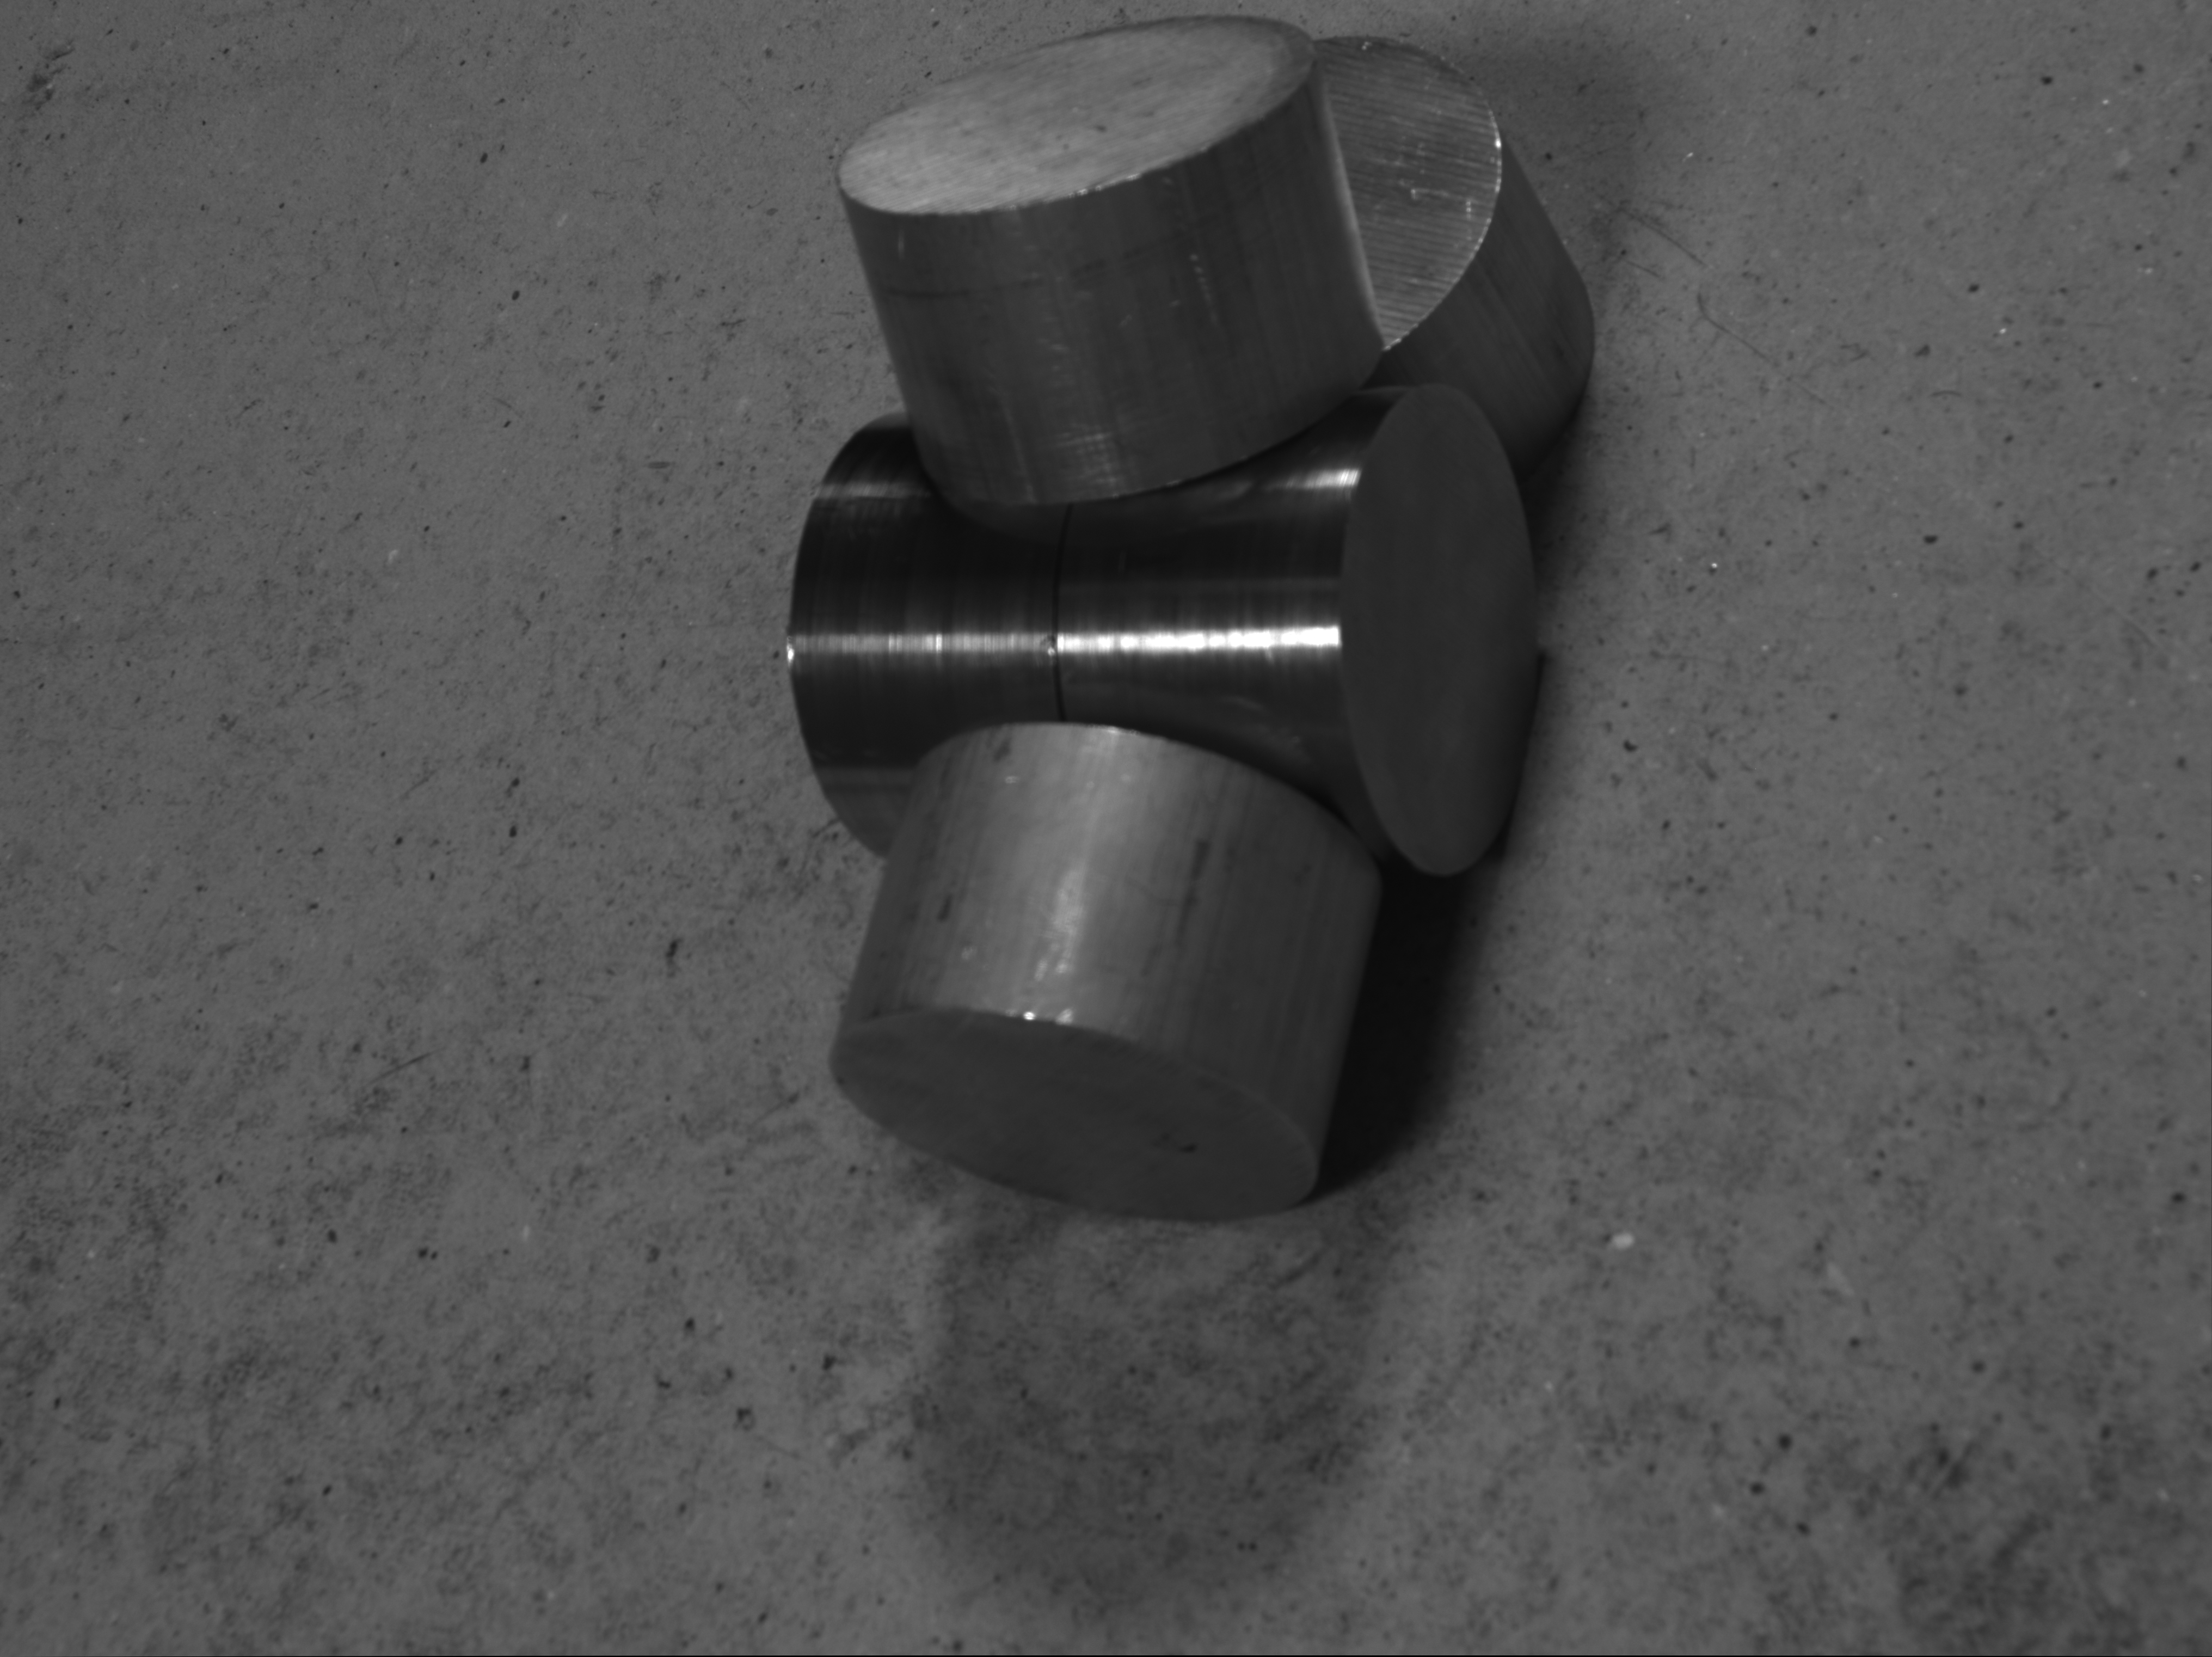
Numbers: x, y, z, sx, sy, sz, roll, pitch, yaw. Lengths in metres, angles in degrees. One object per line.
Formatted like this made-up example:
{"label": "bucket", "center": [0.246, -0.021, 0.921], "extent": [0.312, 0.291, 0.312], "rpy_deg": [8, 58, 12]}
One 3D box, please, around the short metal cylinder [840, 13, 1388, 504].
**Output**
{"label": "short metal cylinder", "center": [0.002, -0.094, 0.600], "extent": [0.080, 0.050, 0.080], "rpy_deg": [-13, 29, 7]}

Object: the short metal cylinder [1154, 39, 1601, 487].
{"label": "short metal cylinder", "center": [0.044, -0.096, 0.665], "extent": [0.080, 0.050, 0.080], "rpy_deg": [-13, 56, 21]}

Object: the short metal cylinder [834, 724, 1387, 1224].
{"label": "short metal cylinder", "center": [0.001, 0.025, 0.593], "extent": [0.080, 0.080, 0.050], "rpy_deg": [0, 61, 28]}

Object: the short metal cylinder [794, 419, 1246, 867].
{"label": "short metal cylinder", "center": [-0.011, -0.033, 0.636], "extent": [0.050, 0.080, 0.080], "rpy_deg": [1, 62, 29]}

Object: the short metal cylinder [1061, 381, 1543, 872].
{"label": "short metal cylinder", "center": [0.034, -0.033, 0.610], "extent": [0.050, 0.080, 0.080], "rpy_deg": [0, 61, 29]}
